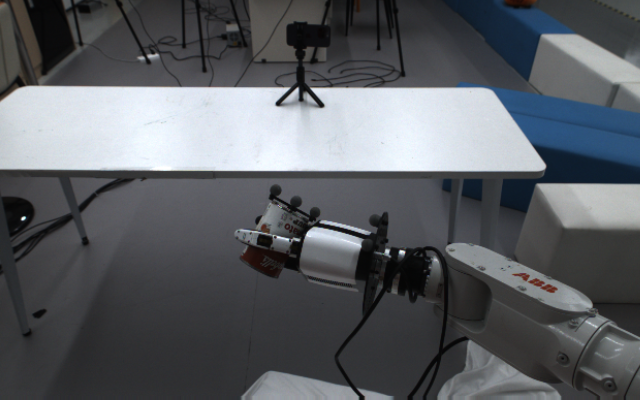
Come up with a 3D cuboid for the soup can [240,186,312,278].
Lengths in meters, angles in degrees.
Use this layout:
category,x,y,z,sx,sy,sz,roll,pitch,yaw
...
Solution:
category,x,y,z,sx,sy,sz,roll,pitch,yaw
soup can,-0.069,0.060,0.736,0.067,0.101,0.067,29,-3,2
